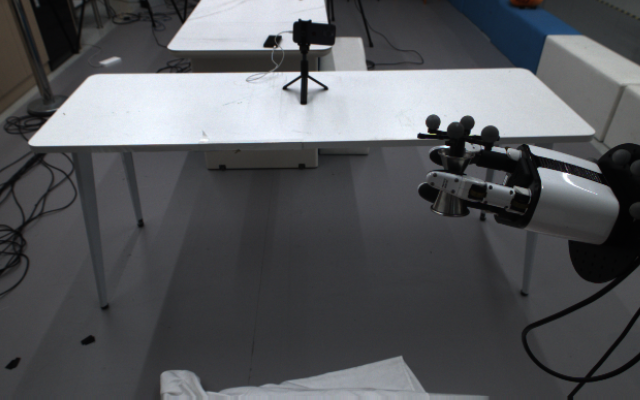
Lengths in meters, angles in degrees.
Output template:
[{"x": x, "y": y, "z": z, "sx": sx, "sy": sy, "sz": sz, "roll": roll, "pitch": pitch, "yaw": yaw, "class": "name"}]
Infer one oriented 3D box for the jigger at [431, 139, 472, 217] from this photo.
[{"x": 0.149, "y": -0.022, "z": 0.549, "sx": 0.043, "sy": 0.071, "sz": 0.043, "roll": 1, "pitch": 20, "yaw": 0, "class": "jigger"}]
